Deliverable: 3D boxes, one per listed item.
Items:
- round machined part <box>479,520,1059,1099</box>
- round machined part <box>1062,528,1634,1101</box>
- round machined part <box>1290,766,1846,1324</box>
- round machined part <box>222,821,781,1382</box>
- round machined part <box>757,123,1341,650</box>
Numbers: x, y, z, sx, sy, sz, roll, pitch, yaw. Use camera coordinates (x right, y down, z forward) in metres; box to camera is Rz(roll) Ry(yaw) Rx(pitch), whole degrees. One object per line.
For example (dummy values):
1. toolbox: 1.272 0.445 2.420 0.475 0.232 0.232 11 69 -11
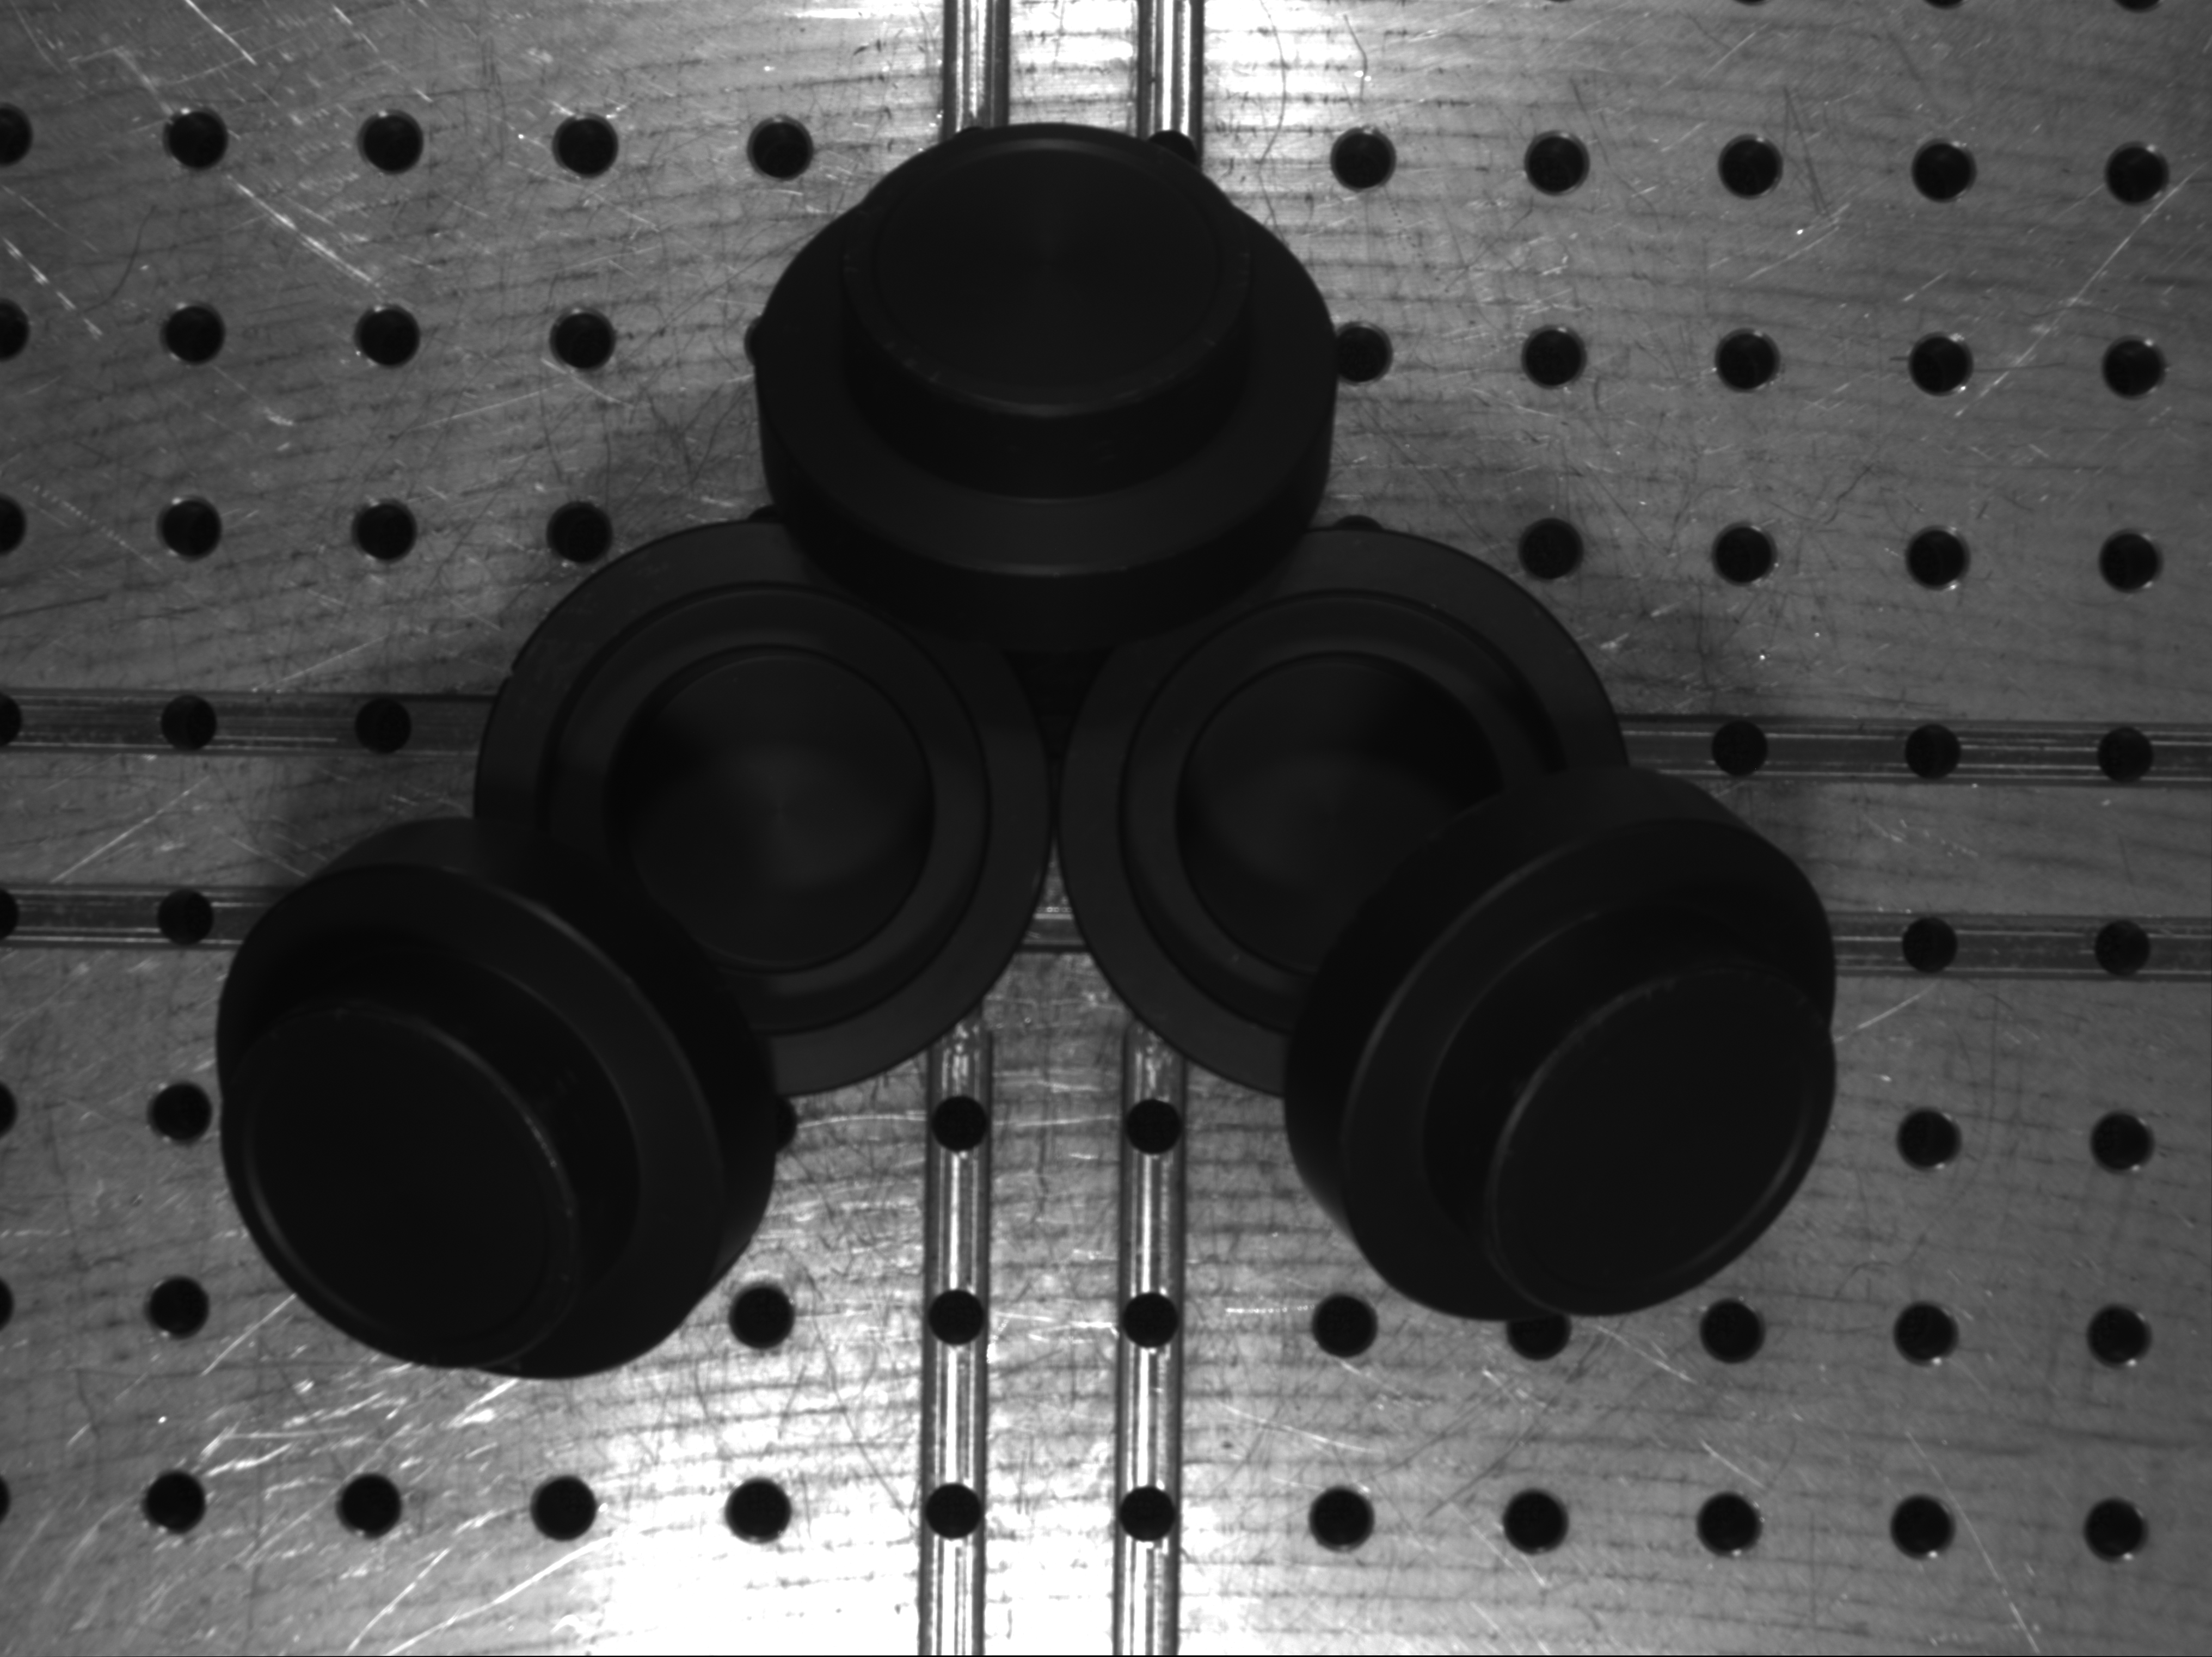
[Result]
1. round machined part: -0.057 -0.003 0.638 0.098 0.042 0.098 0 90 0
2. round machined part: 0.041 -0.002 0.639 0.098 0.042 0.098 0 90 0
3. round machined part: 0.083 0.042 0.613 0.098 0.042 0.098 -13 122 -22
4. round machined part: -0.107 0.052 0.615 0.098 0.042 0.098 10 118 20
5. round machined part: -0.009 -0.080 0.613 0.098 0.042 0.098 0 52 0
